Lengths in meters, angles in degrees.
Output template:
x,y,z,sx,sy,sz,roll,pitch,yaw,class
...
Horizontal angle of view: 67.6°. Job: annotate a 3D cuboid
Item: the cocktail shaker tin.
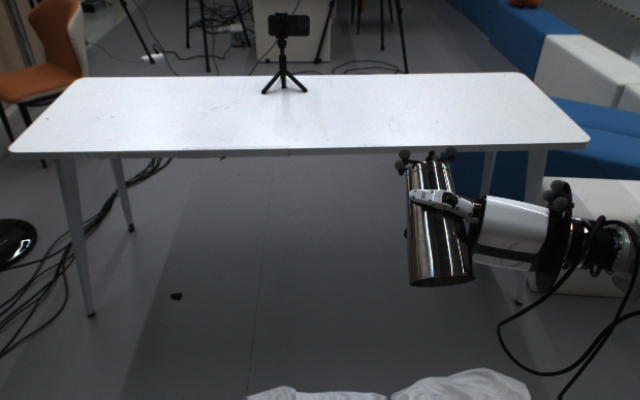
x,y,z,sx,sy,sz,roll,pitch,yaw,class
0.167,0.034,0.701,0.093,0.093,0.170,-2,71,-6,cocktail shaker tin
